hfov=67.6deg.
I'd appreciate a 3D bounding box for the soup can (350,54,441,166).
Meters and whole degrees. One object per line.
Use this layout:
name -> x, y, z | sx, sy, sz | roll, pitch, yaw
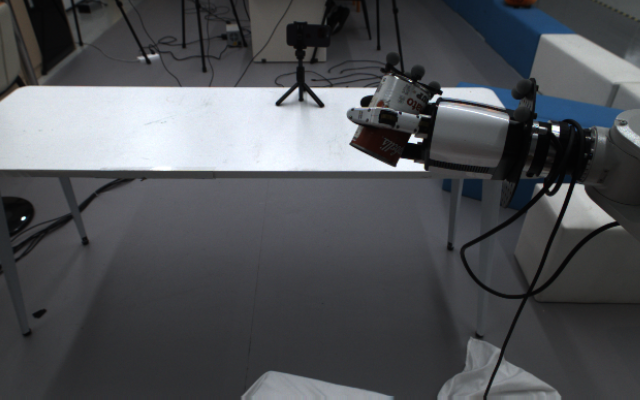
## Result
soup can -> 0.091, -0.102, 0.621 | 0.067, 0.101, 0.067 | 26, 5, -3
